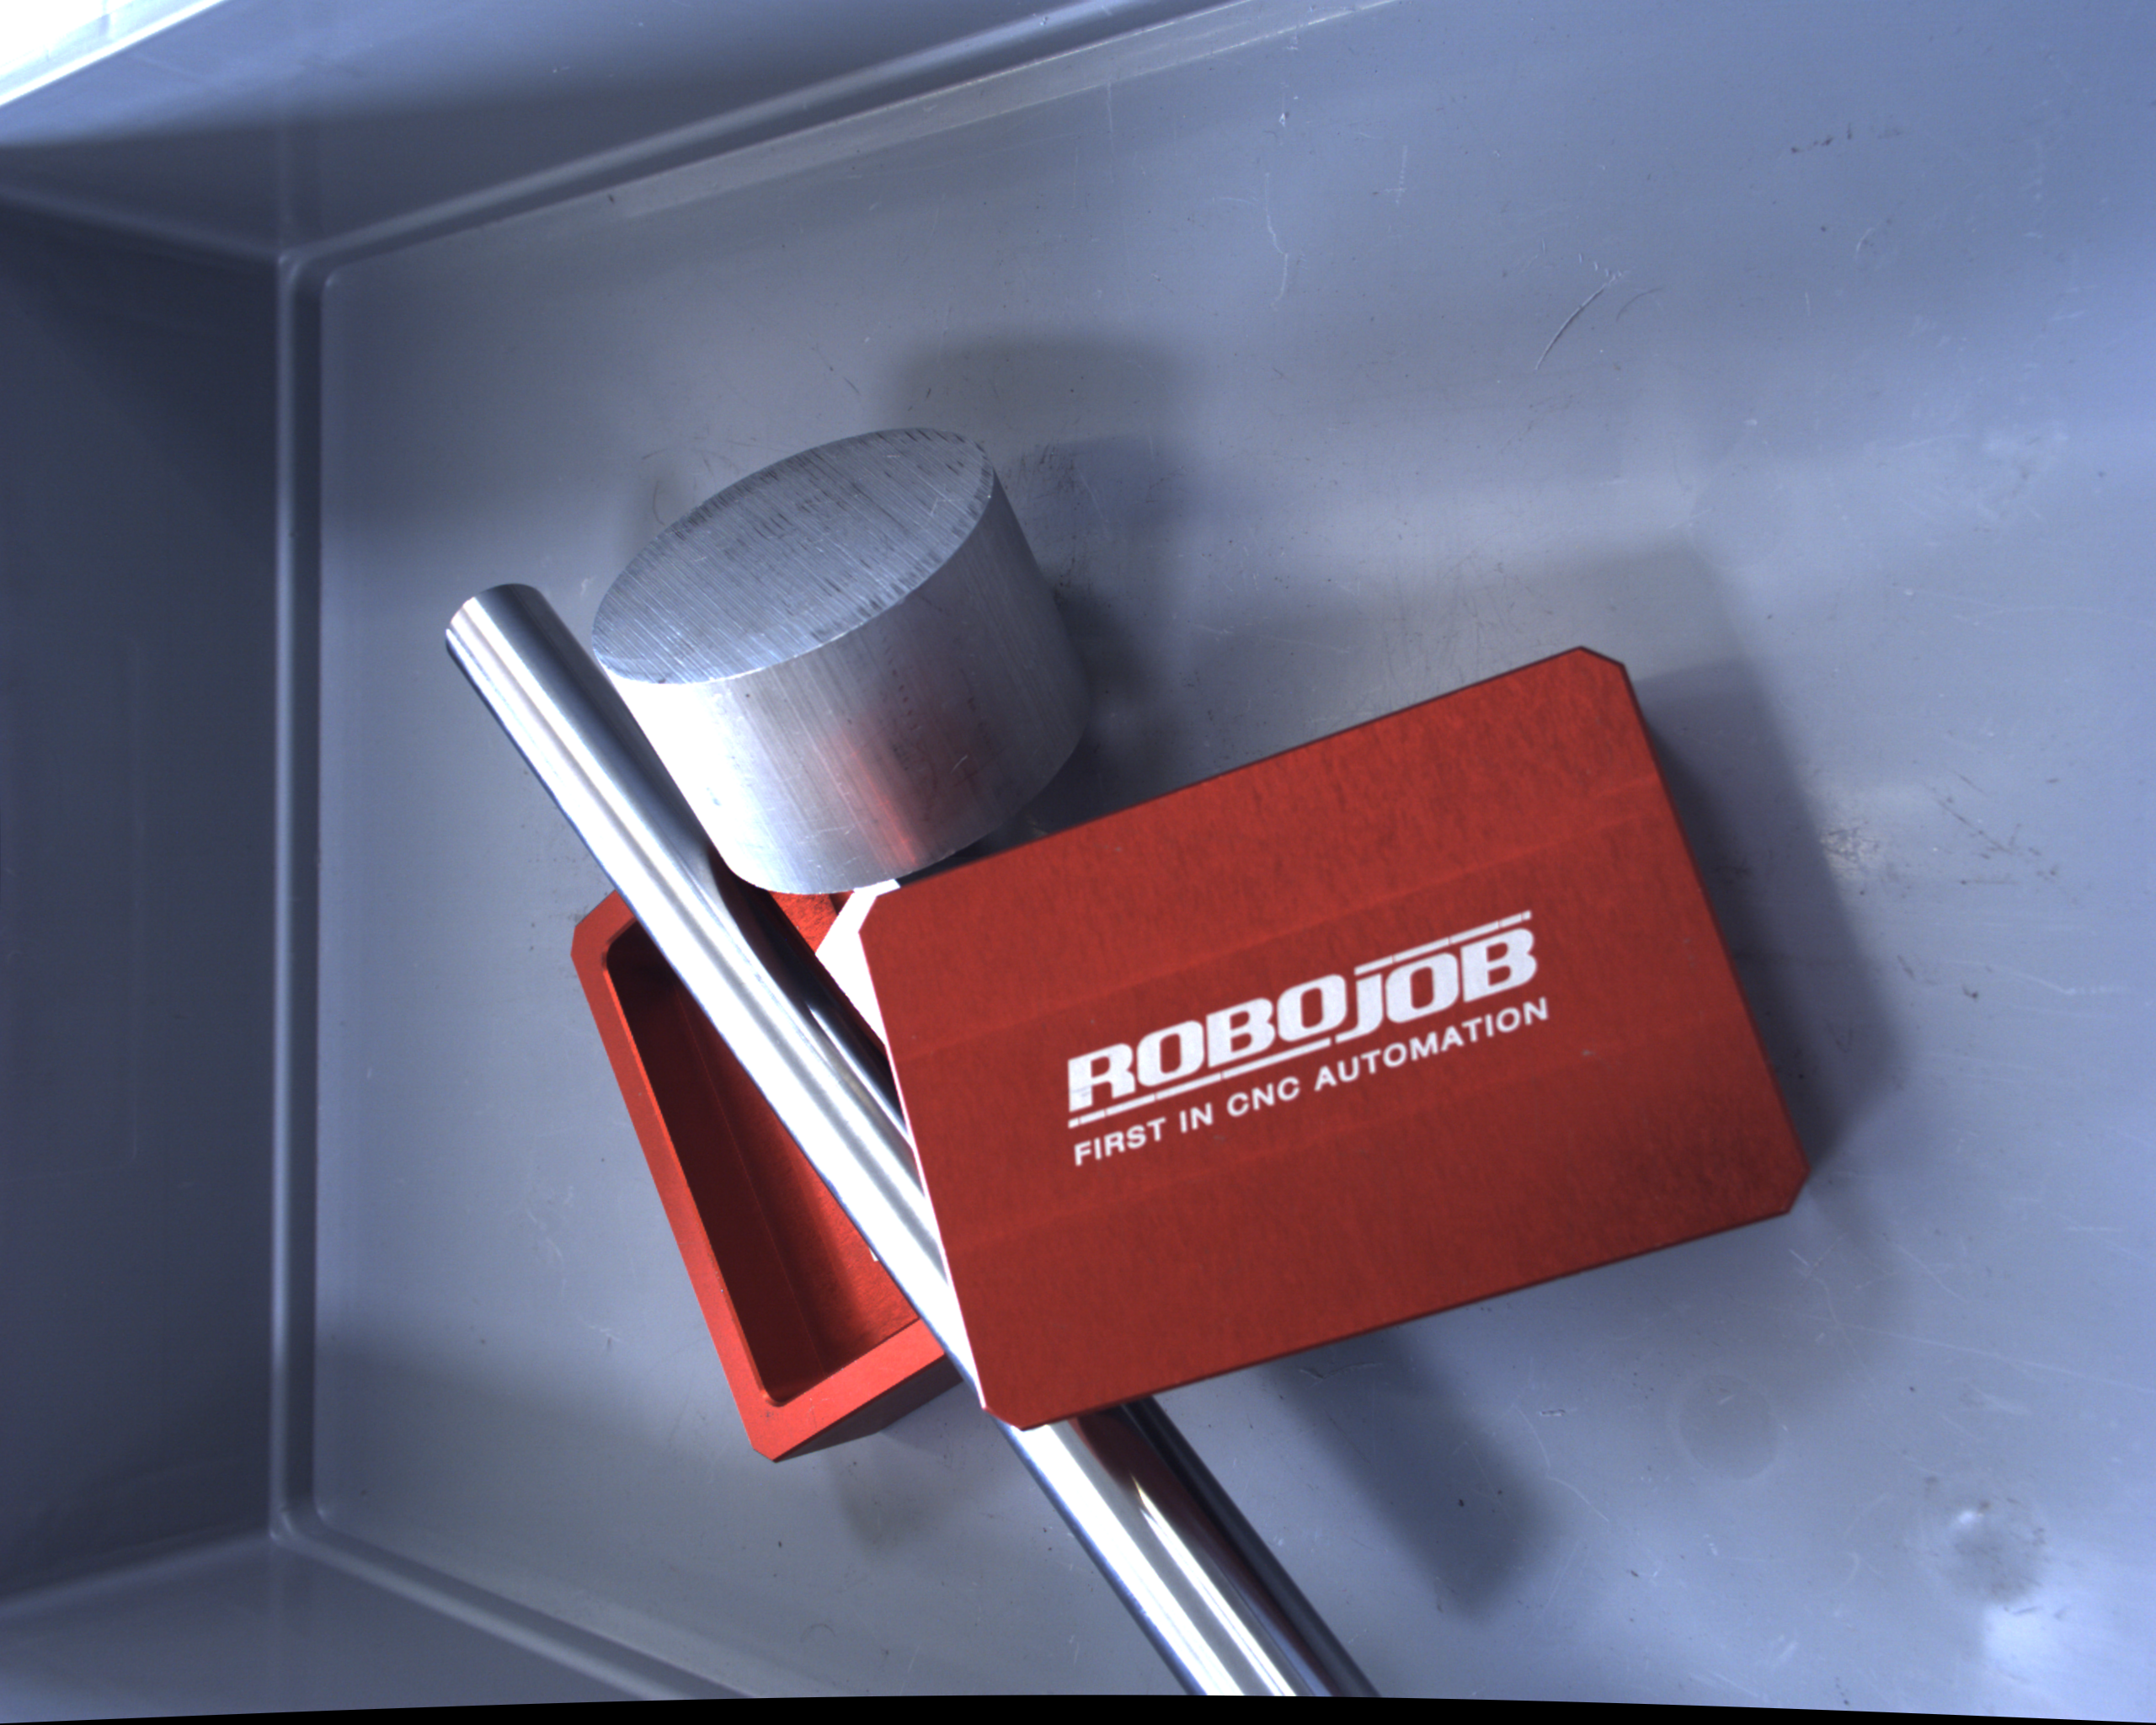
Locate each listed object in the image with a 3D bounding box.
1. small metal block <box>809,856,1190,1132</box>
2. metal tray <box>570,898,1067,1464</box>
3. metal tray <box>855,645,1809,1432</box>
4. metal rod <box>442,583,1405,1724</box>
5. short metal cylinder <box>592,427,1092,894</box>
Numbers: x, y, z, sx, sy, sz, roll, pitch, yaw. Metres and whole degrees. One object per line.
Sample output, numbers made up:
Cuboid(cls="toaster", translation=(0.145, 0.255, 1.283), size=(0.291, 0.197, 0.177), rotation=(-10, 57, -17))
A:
Cuboid(cls="small metal block", translation=(-0.014, 0.024, 0.399), size=(0.050, 0.050, 0.025), rotation=(48, 119, 29))
Cuboid(cls="metal tray", translation=(-0.054, 0.049, 0.445), size=(0.090, 0.030, 0.130), rotation=(-39, 67, 33))
Cuboid(cls="metal tray", translation=(0.038, 0.030, 0.336), size=(0.130, 0.030, 0.090), rotation=(-19, 77, 13))
Cuboid(cls="metal rod", translation=(-0.045, 0.045, 0.402), size=(0.300, 0.025, 0.025), rotation=(49, 119, 28))
Cuboid(cls="short metal cylinder", translation=(-0.044, -0.039, 0.397), size=(0.080, 0.080, 0.050), rotation=(11, 139, 39))
